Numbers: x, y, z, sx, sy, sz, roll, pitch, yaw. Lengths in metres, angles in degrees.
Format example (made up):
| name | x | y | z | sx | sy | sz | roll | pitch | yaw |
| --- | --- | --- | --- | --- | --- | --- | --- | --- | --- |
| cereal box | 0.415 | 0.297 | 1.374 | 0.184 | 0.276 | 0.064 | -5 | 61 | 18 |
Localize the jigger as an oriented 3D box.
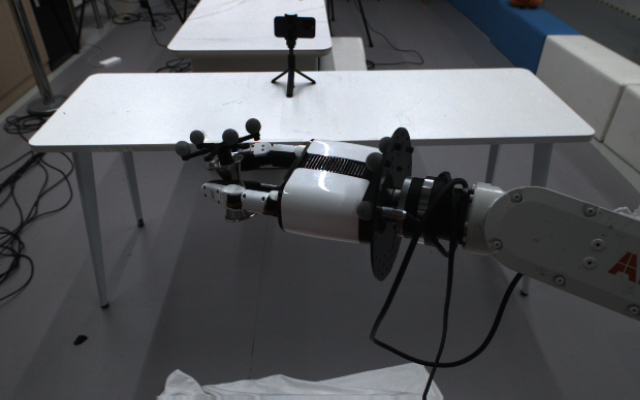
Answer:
| name | x | y | z | sx | sy | sz | roll | pitch | yaw |
| --- | --- | --- | --- | --- | --- | --- | --- | --- | --- |
| jigger | -0.097 | -0.014 | 0.562 | 0.043 | 0.071 | 0.043 | -11 | 24 | 5 |
